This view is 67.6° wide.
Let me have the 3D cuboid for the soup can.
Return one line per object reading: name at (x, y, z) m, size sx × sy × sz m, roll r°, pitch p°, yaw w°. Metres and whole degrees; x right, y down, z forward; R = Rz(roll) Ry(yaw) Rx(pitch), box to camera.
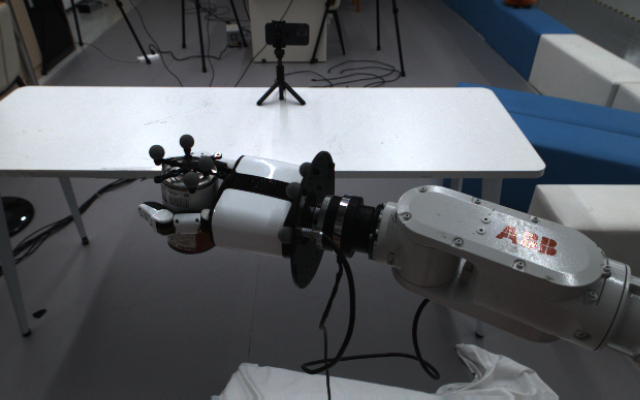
soup can at (-0.156, 0.008, 0.592) m, size 0.067 × 0.101 × 0.067 m, roll 5°, pitch 37°, yaw -4°
